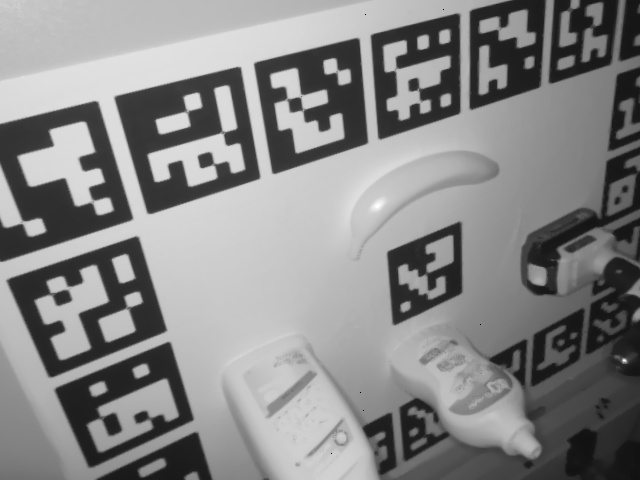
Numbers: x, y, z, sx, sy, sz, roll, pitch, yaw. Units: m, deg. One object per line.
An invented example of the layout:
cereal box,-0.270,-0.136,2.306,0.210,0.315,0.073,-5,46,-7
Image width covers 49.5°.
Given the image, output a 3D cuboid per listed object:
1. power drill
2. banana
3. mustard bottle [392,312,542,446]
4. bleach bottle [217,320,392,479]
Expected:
power drill,0.337,0.062,0.741,0.187,0.185,0.057,-25,121,-21
banana,0.109,-0.065,0.678,0.200,0.038,0.074,-24,119,-21
mustard bottle,0.160,0.148,0.718,0.097,0.190,0.058,-25,121,-15
bleach bottle,-0.006,0.160,0.593,0.104,0.249,0.067,-10,116,-24
